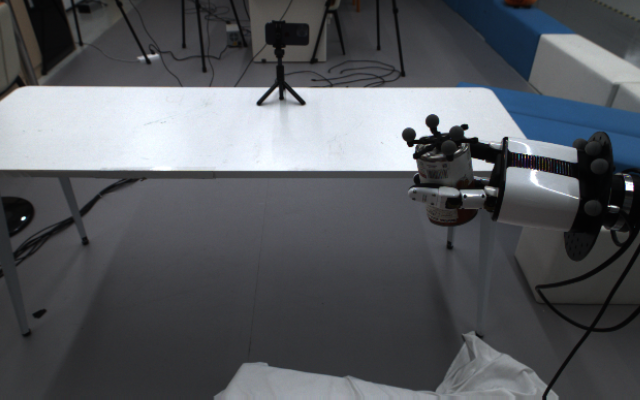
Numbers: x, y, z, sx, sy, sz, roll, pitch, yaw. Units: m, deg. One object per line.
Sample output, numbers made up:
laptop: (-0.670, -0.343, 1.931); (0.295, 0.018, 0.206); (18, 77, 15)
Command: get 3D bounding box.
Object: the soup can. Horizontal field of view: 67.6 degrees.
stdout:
soup can: (0.164, -0.027, 0.622); (0.067, 0.101, 0.067); (-13, 31, 8)
